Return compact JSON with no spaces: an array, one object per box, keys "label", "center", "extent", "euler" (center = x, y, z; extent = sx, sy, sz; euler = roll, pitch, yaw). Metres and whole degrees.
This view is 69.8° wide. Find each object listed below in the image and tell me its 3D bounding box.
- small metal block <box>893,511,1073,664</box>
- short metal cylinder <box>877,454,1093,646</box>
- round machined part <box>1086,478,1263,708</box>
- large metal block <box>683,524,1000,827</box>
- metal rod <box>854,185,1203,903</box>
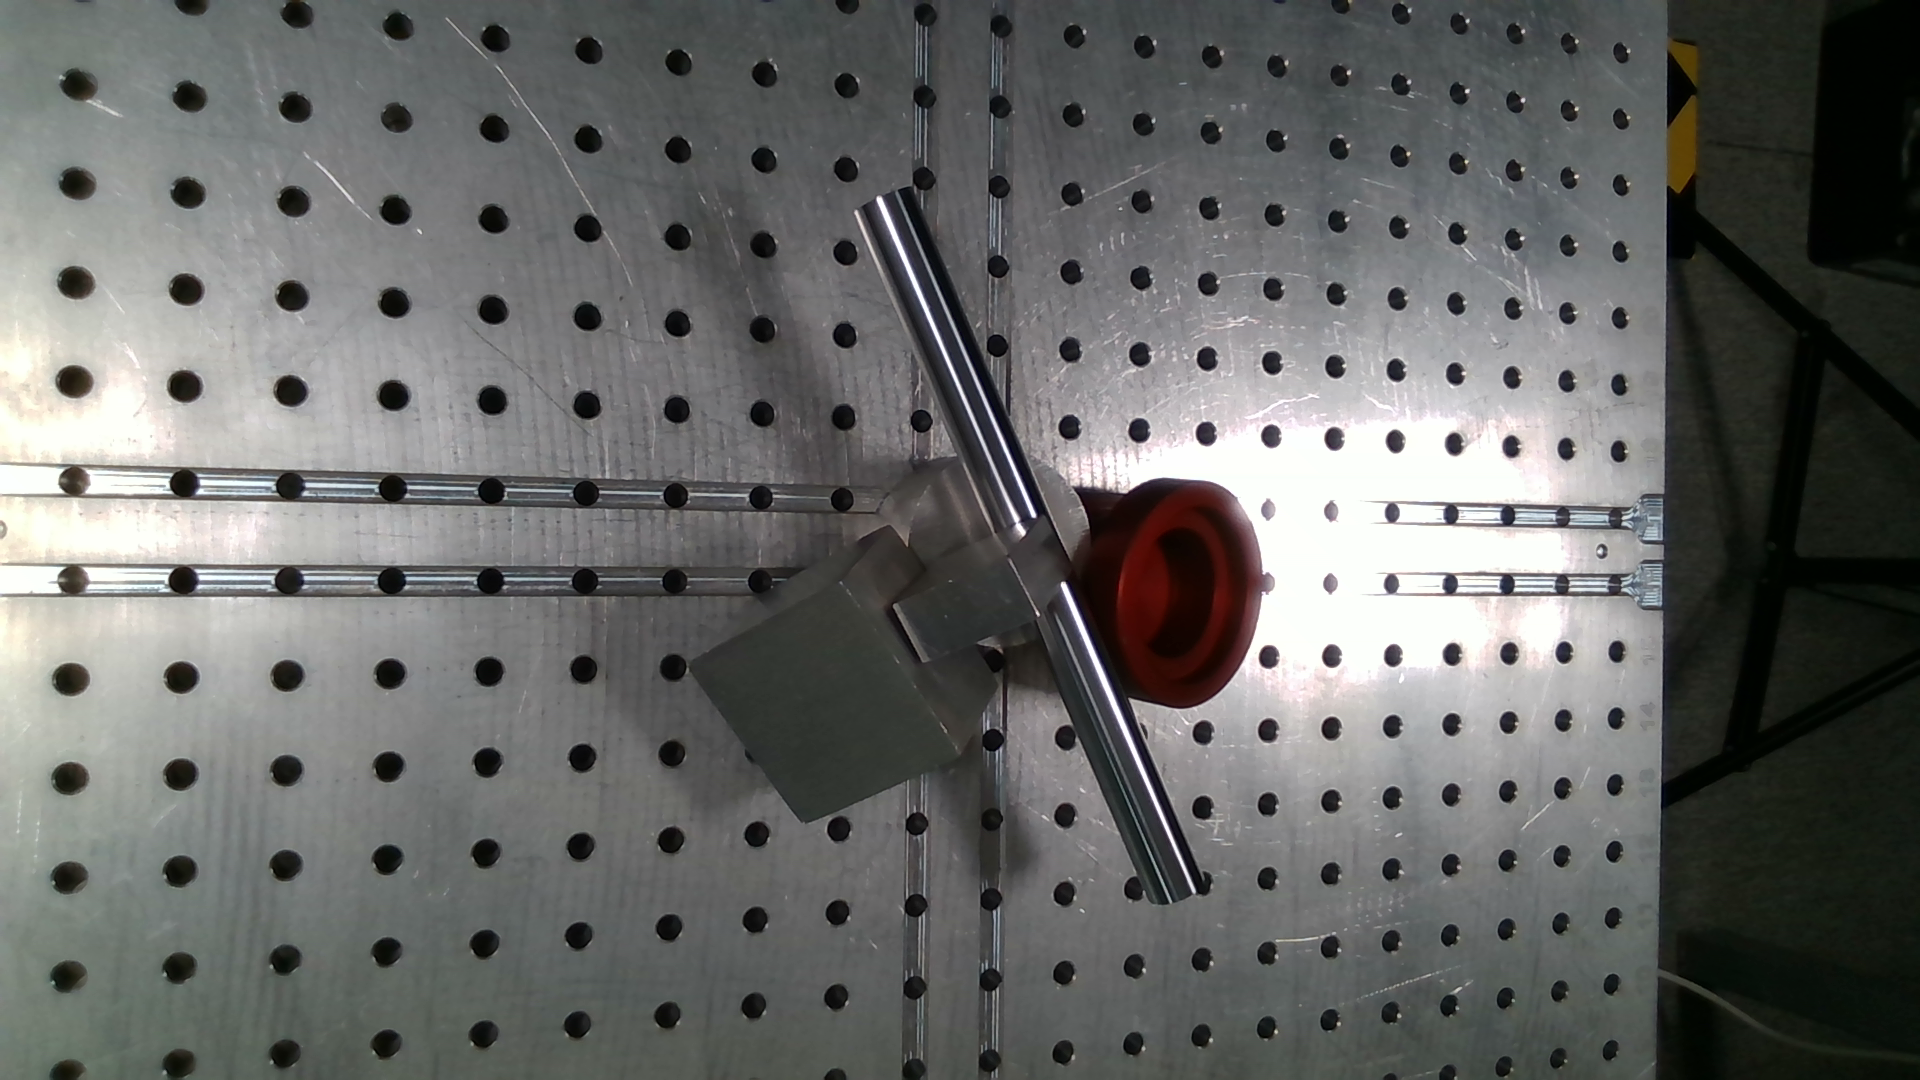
[{"label":"small metal block","center":[0.010,0.017,0.514],"extent":[0.050,0.050,0.025],"euler":[-24,101,24]},{"label":"short metal cylinder","center":[0.009,0.003,0.578],"extent":[0.080,0.050,0.080],"euler":[0,90,-20]},{"label":"round machined part","center":[0.086,0.021,0.599],"extent":[0.098,0.042,0.098],"euler":[-7,100,-42]},{"label":"large metal block","center":[-0.045,0.053,0.534],"extent":[0.080,0.050,0.080],"euler":[-28,103,27]},{"label":"metal rod","center":[0.030,0.006,0.546],"extent":[0.025,0.025,0.300],"euler":[-26,99,-18]}]
